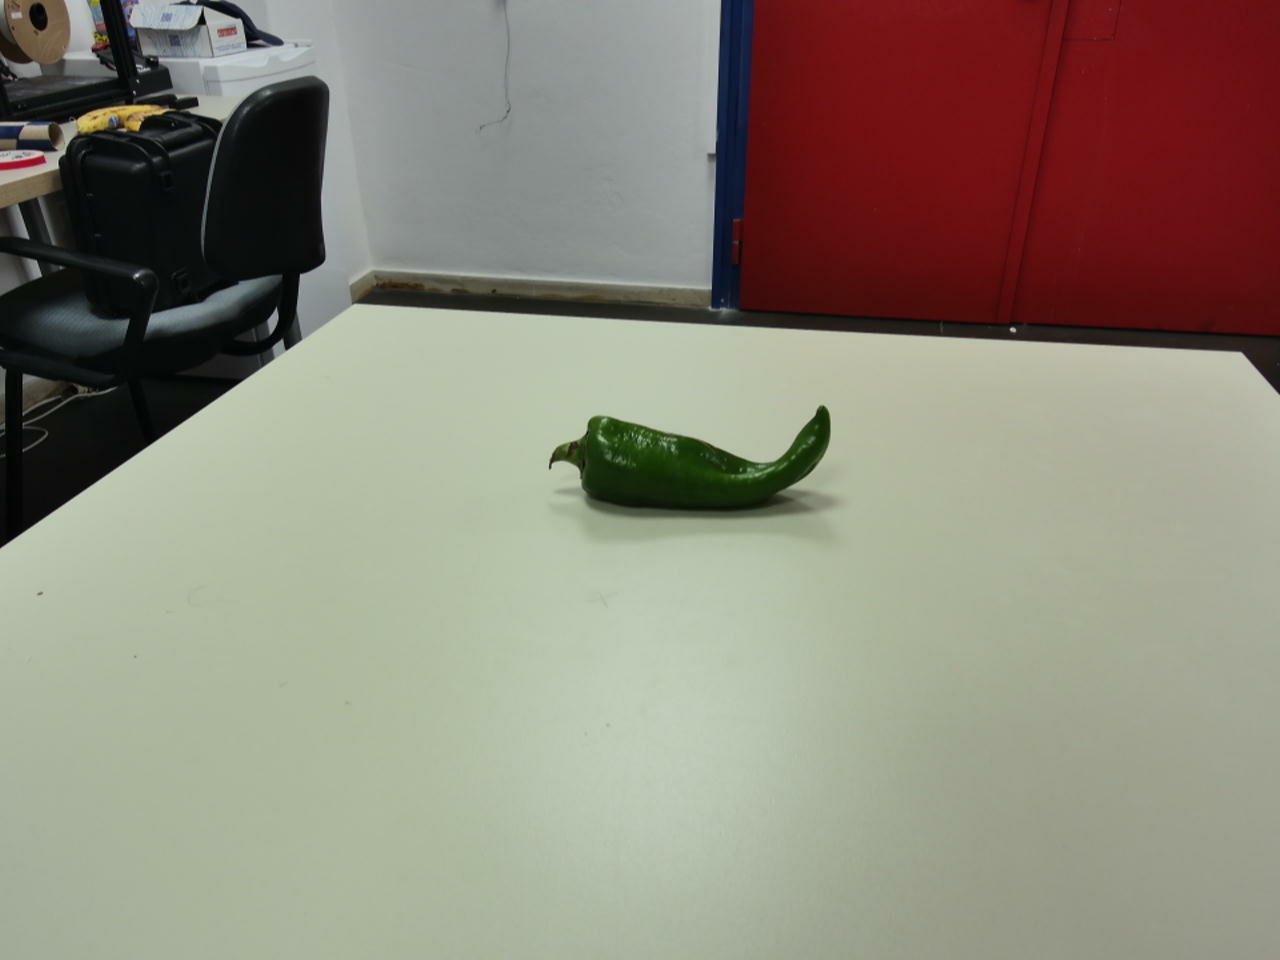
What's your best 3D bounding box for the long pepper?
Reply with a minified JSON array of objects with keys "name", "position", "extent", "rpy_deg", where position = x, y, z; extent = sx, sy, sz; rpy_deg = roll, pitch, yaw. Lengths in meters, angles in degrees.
[{"name":"long pepper","position":[0.029,-0.017,0.620],"extent":[0.175,0.065,0.058],"rpy_deg":[4,27,9]}]
